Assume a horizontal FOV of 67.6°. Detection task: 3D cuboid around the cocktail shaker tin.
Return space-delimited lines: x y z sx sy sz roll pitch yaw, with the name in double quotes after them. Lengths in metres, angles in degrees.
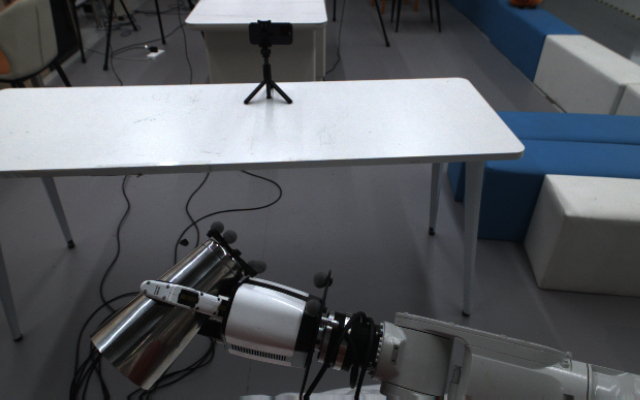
-0.174 0.125 0.583 0.093 0.093 0.170 32 65 35 "cocktail shaker tin"
